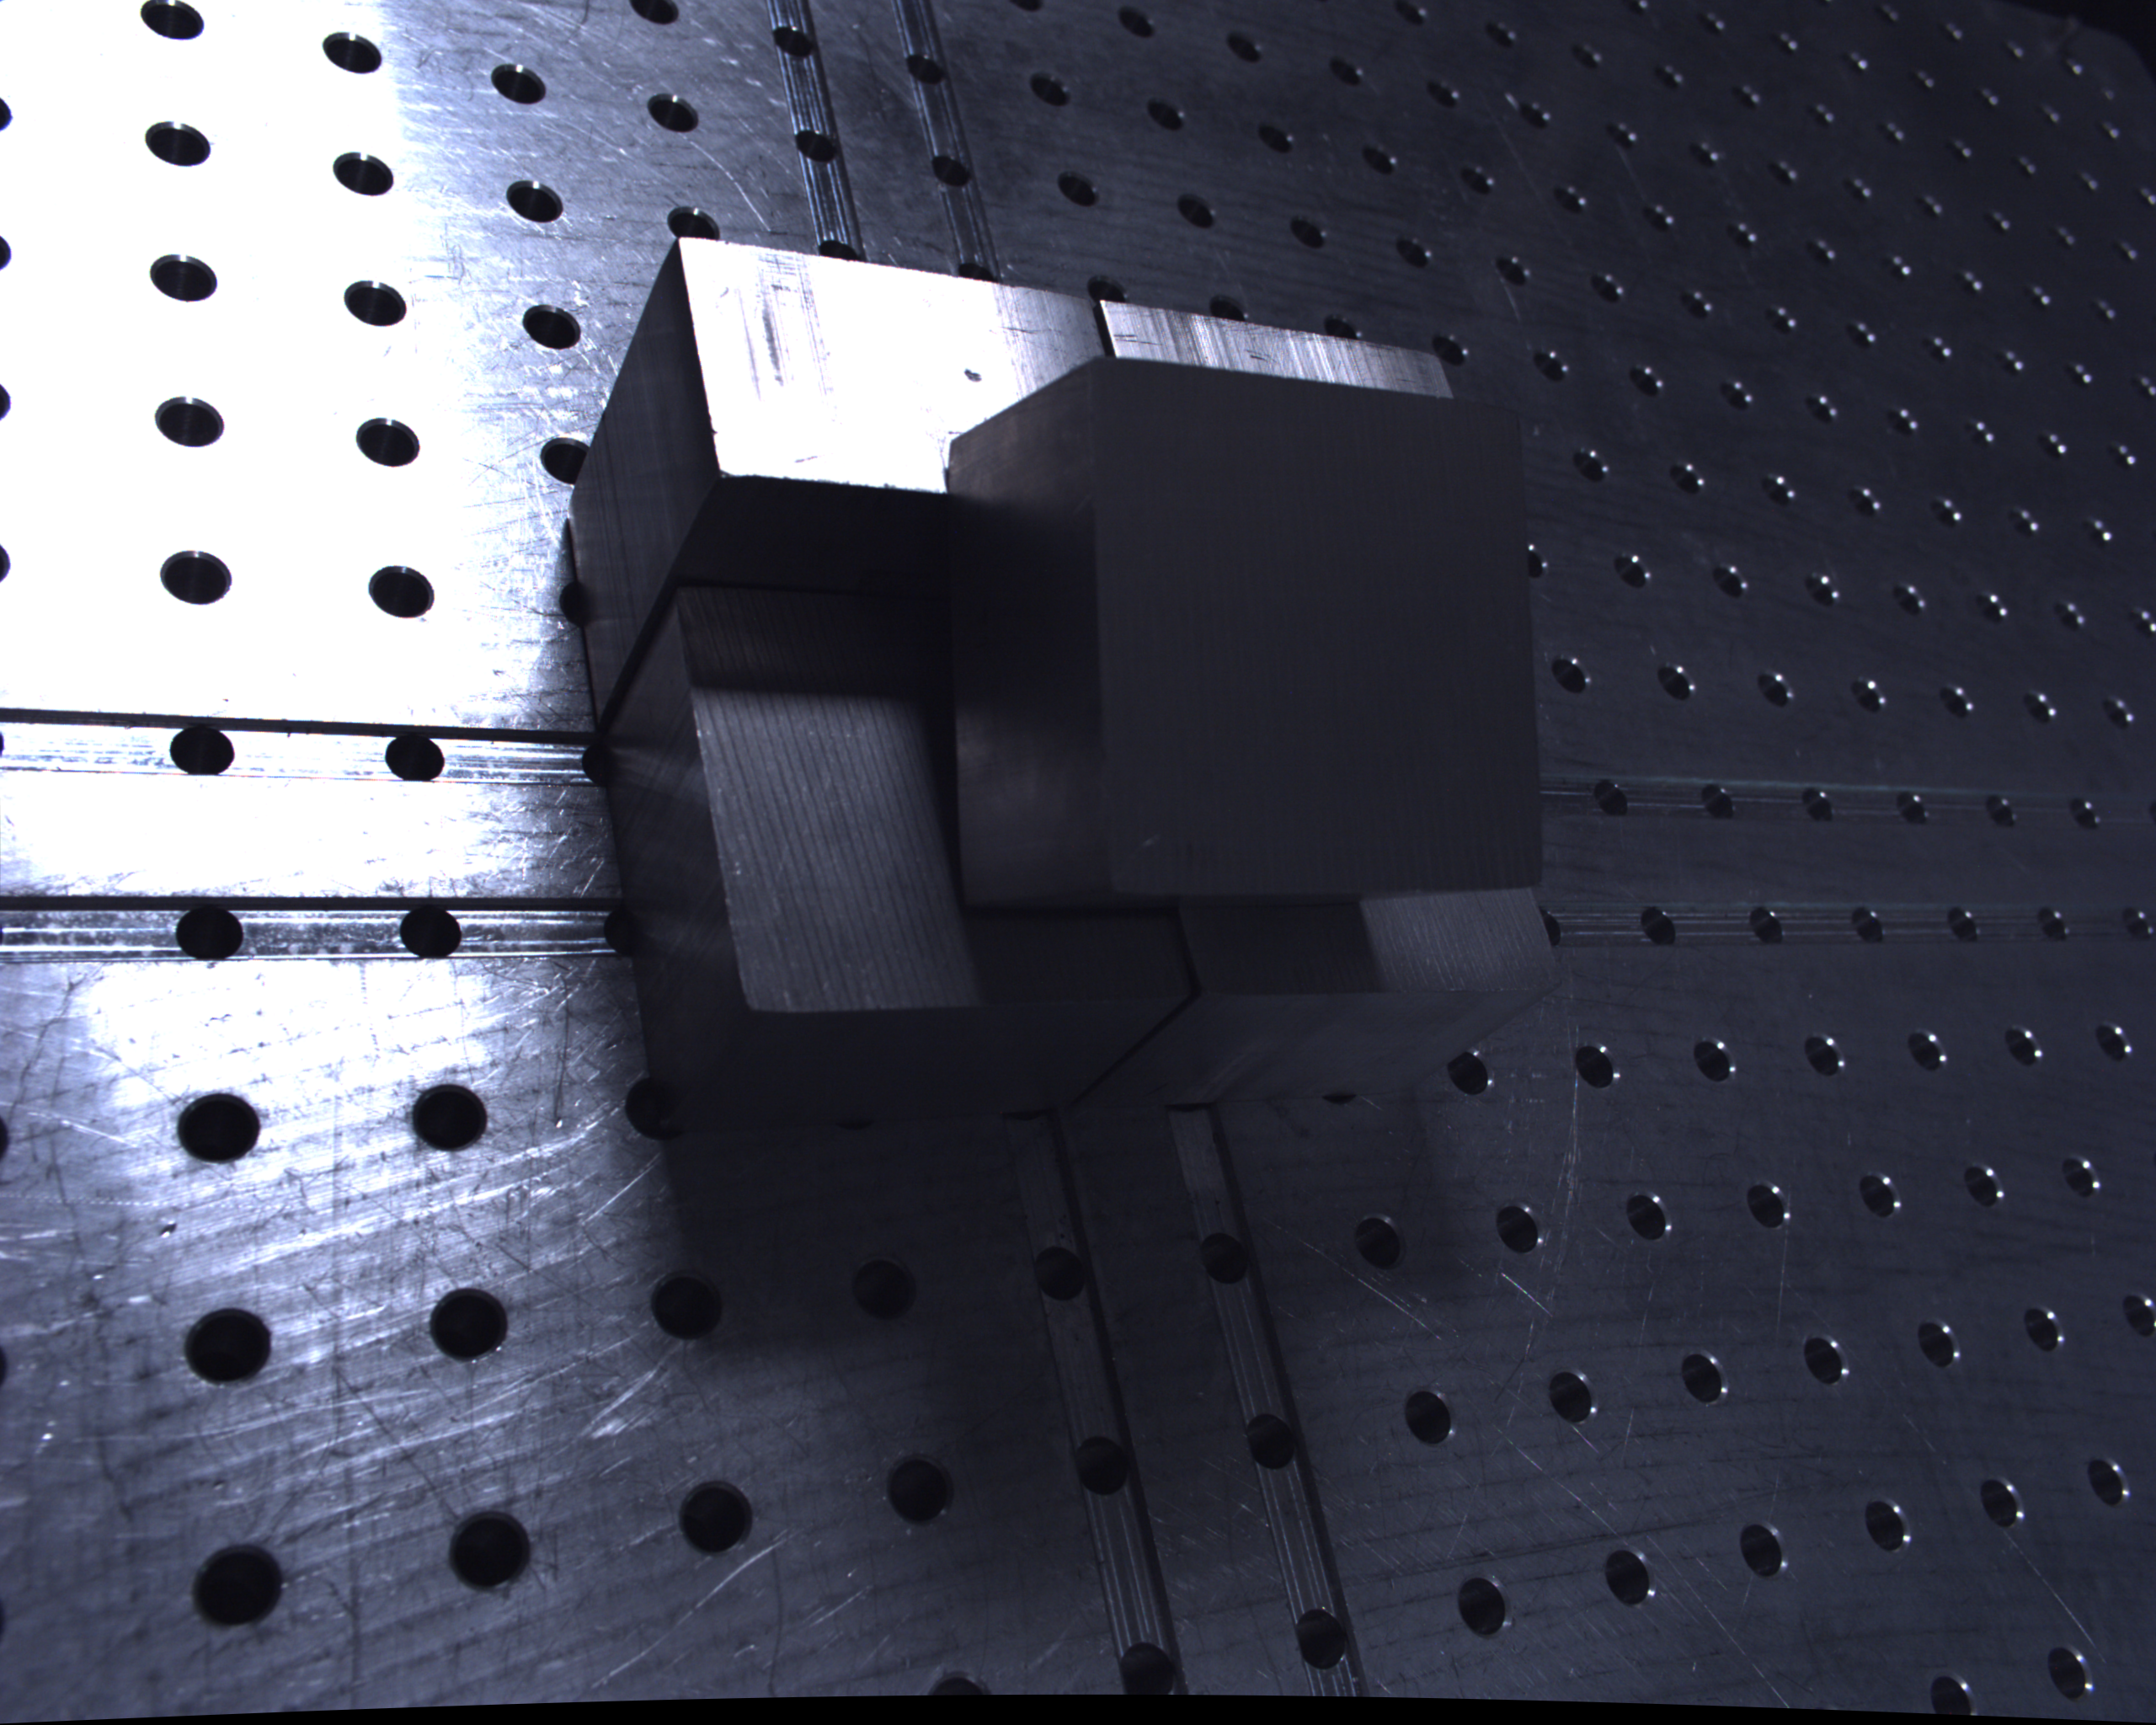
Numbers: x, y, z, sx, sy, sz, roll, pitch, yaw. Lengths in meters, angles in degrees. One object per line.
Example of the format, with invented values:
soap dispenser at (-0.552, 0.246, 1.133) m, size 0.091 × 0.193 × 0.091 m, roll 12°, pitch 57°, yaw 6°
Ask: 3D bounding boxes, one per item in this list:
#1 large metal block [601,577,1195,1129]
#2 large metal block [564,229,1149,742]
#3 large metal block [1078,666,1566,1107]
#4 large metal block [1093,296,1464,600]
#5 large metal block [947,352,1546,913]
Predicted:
large metal block at (-0.035, -0.001, 0.373) m, size 0.081 × 0.050 × 0.080 m, roll 1°, pitch 62°, yaw -28°
large metal block at (-0.044, -0.065, 0.389) m, size 0.081 × 0.080 × 0.050 m, roll 1°, pitch 62°, yaw -28°
large metal block at (0.038, 0.000, 0.411) m, size 0.081 × 0.050 × 0.080 m, roll 1°, pitch 62°, yaw -28°
large metal block at (0.028, -0.064, 0.427) m, size 0.081 × 0.080 × 0.050 m, roll 1°, pitch 62°, yaw -28°
large metal block at (0.027, -0.033, 0.343) m, size 0.081 × 0.050 × 0.080 m, roll 0°, pitch 86°, yaw -29°
